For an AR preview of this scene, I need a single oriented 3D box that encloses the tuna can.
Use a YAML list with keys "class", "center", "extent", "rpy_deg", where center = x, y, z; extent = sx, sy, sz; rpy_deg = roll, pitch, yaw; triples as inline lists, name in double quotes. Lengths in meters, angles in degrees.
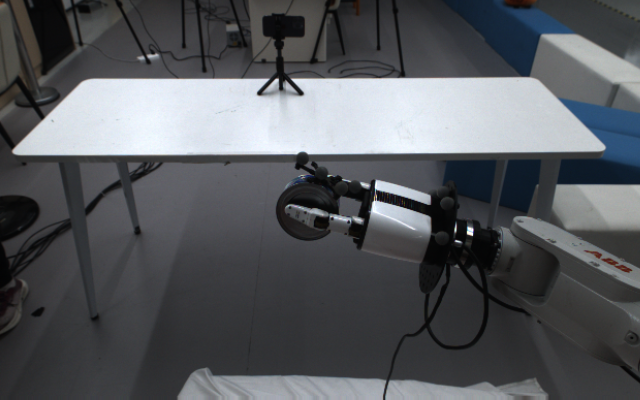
- class: "tuna can"
  center: [-0.015, 0.011, 0.666]
  extent: [0.085, 0.085, 0.034]
  rpy_deg: [4, 20, 3]
